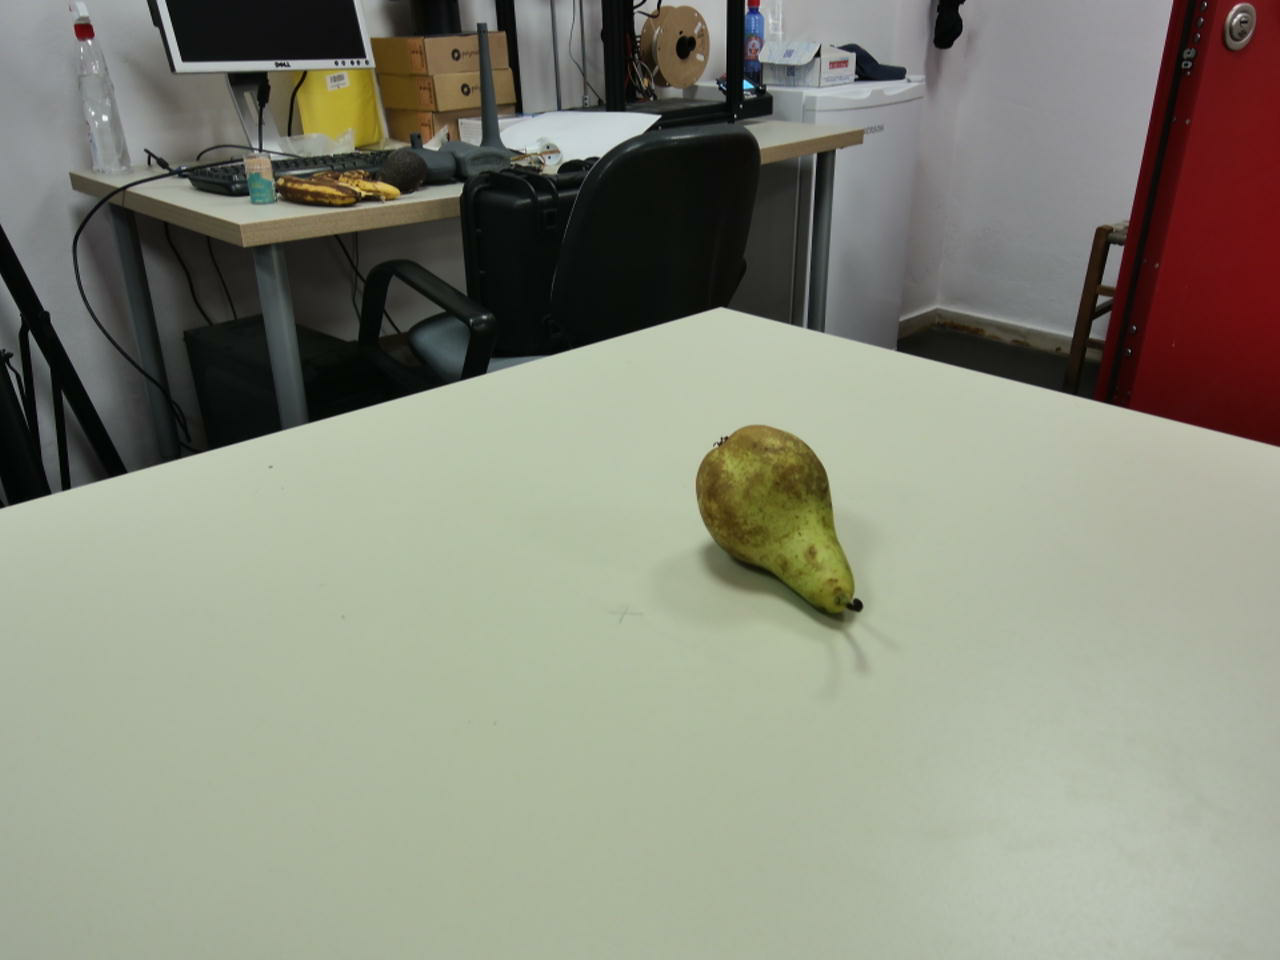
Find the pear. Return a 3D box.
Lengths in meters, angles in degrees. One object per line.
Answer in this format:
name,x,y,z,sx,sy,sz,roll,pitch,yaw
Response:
pear,0.086,0.019,0.519,0.071,0.075,0.144,-16,28,-31
